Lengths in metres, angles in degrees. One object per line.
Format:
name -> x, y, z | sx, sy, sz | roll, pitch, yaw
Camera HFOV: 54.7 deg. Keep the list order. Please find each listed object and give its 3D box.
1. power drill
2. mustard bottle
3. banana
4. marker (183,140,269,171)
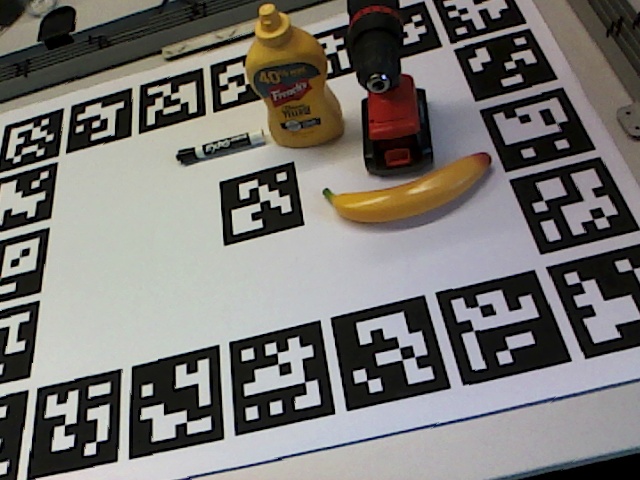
power drill -> 0.079, -0.155, 0.693 | 0.057, 0.186, 0.185 | 0, 57, 13
mustard bottle -> -0.027, -0.178, 0.757 | 0.096, 0.190, 0.058 | -3, 59, 13
banana -> 0.101, -0.031, 0.726 | 0.198, 0.038, 0.074 | -7, 60, 14
marker -> -0.130, -0.115, 0.851 | 0.121, 0.019, 0.020 | -11, 58, 9
